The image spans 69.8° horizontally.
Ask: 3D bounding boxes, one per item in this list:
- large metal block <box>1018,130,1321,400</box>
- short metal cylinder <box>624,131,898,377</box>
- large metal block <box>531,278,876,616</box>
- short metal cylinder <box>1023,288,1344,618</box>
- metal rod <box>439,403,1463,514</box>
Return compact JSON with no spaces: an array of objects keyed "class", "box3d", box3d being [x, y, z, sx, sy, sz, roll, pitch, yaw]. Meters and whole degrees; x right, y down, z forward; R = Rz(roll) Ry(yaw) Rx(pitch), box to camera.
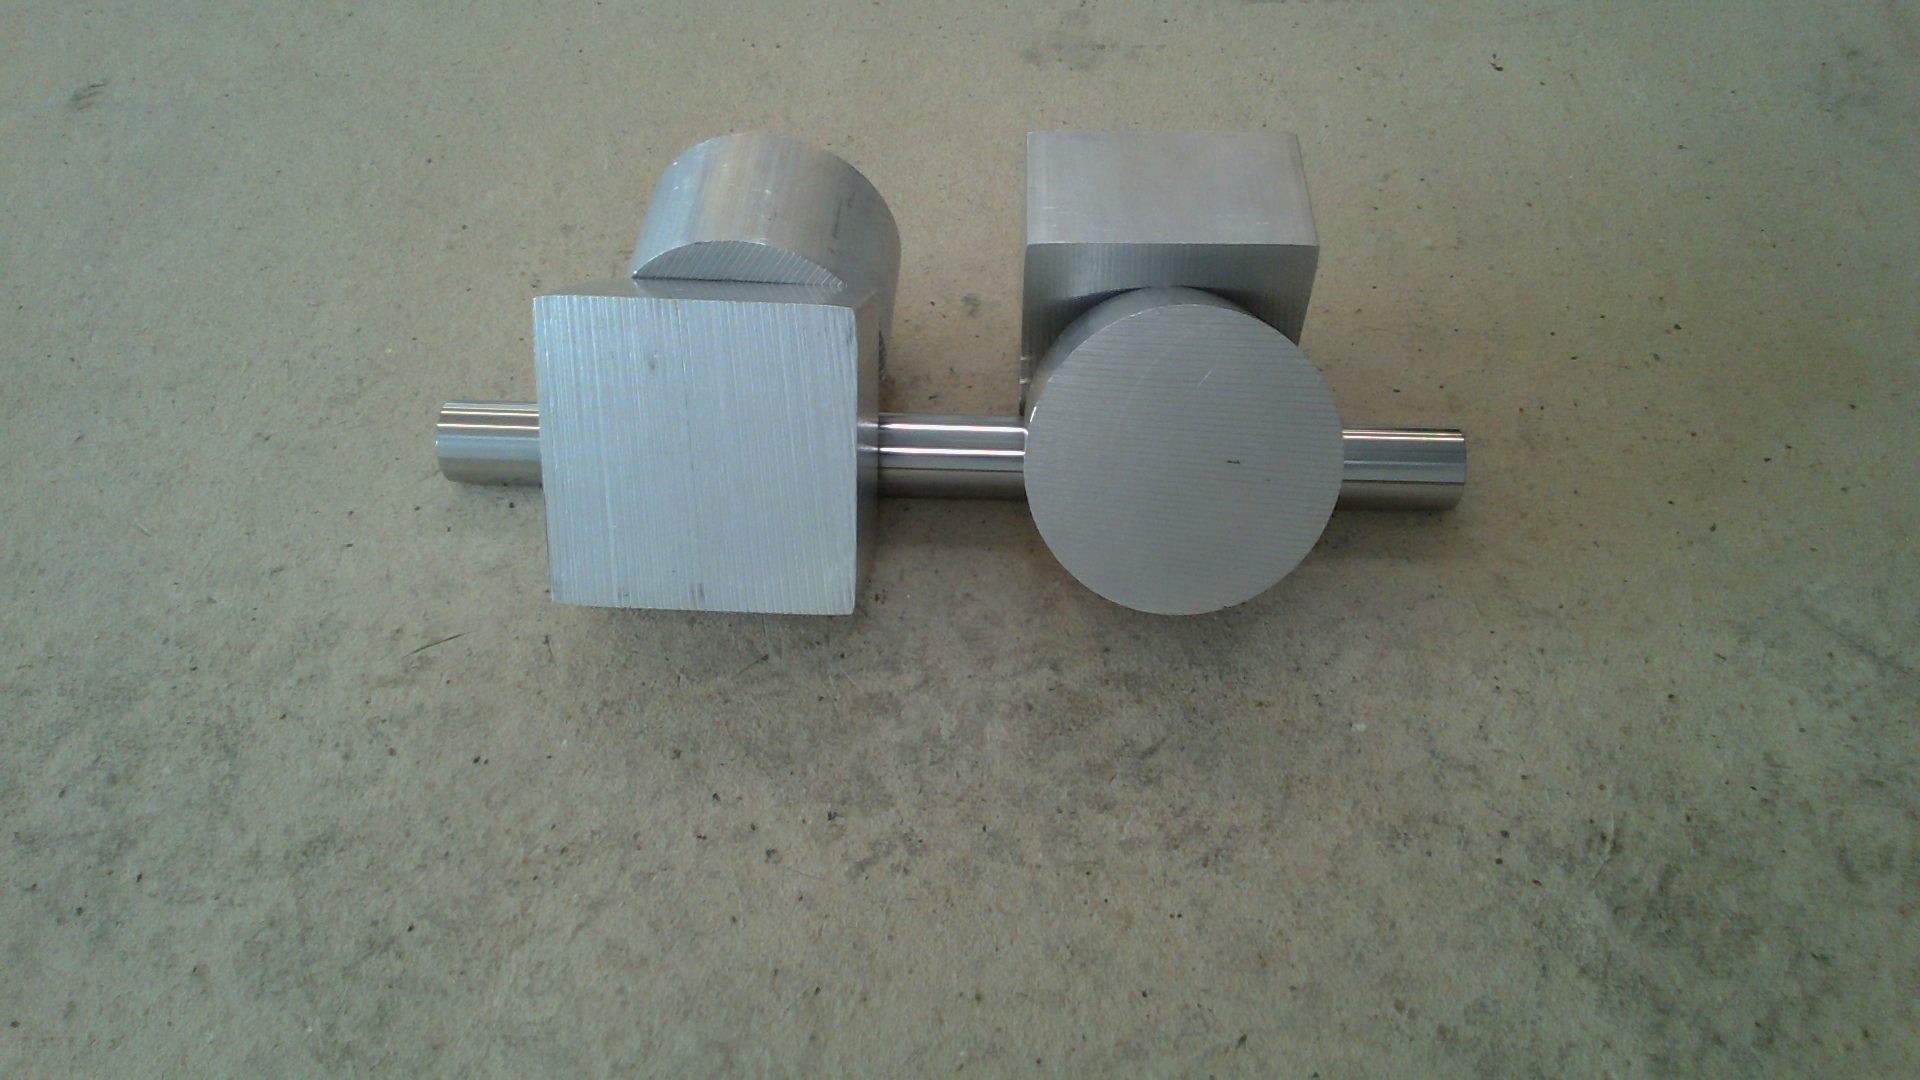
[{"class":"large metal block","box3d":[0.058,-0.075,0.418,0.080,0.080,0.050,1,50,1]},{"class":"short metal cylinder","box3d":[-0.061,-0.075,0.419,0.080,0.080,0.050,3,50,2]},{"class":"large metal block","box3d":[-0.065,-0.027,0.371,0.080,0.080,0.050,2,16,1]},{"class":"short metal cylinder","box3d":[0.057,-0.025,0.369,0.080,0.080,0.050,1,15,1]},{"class":"metal rod","box3d":[-0.004,-0.025,0.415,0.300,0.025,0.025,2,50,1]}]
